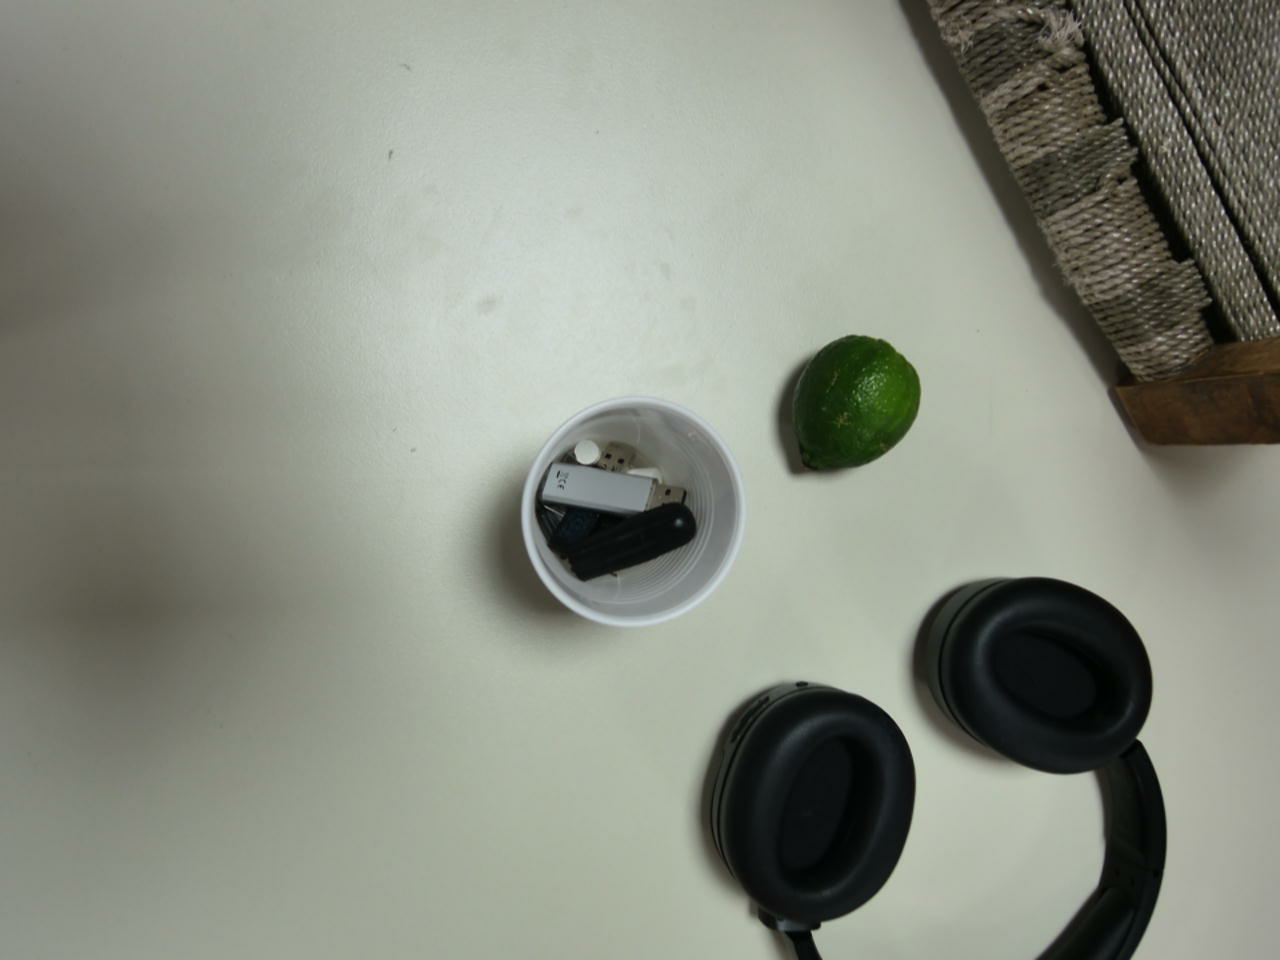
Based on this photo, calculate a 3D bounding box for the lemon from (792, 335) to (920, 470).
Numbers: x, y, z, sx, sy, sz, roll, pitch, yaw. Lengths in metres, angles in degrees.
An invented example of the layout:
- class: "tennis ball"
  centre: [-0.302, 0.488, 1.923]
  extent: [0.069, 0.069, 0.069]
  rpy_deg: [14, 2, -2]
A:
- class: "lemon"
  centre: [0.093, -0.034, 0.434]
  extent: [0.054, 0.051, 0.057]
  rpy_deg: [-5, 91, -11]
